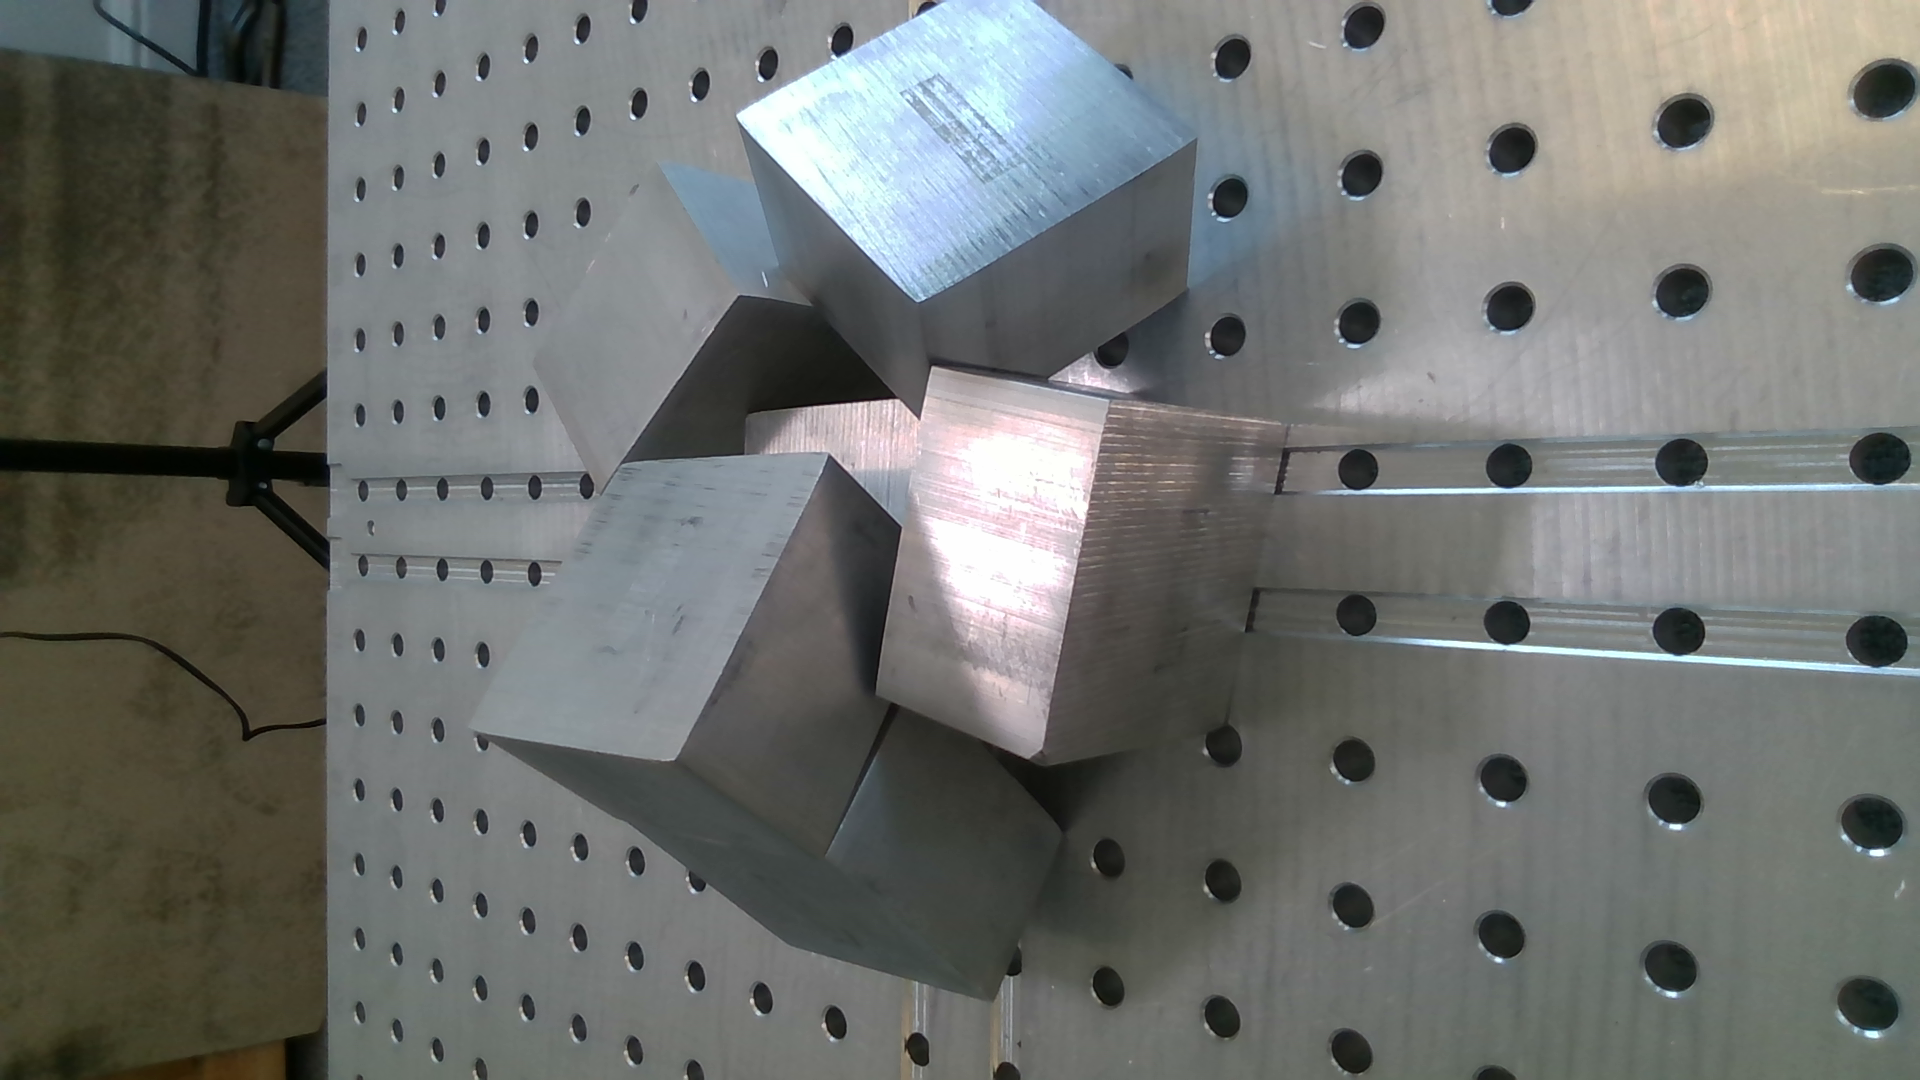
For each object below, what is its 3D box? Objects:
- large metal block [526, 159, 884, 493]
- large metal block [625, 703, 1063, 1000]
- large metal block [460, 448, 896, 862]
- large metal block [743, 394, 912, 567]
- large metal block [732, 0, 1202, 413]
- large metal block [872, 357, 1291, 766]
[{"bbox_3d":[-0.069,-0.059,0.413,0.080,0.080,0.050,-48,62,30],"label":"large metal block"},{"bbox_3d":[-0.032,0.077,0.374,0.080,0.080,0.050,0,53,40],"label":"large metal block"},{"bbox_3d":[-0.062,0.026,0.339,0.080,0.050,0.080,1,57,39],"label":"large metal block"},{"bbox_3d":[-0.016,0.002,0.391,0.080,0.050,0.080,1,91,40],"label":"large metal block"},{"bbox_3d":[0.002,-0.085,0.346,0.080,0.080,0.050,49,163,29],"label":"large metal block"},{"bbox_3d":[0.031,0.003,0.332,0.050,0.080,0.080,17,101,39],"label":"large metal block"}]
